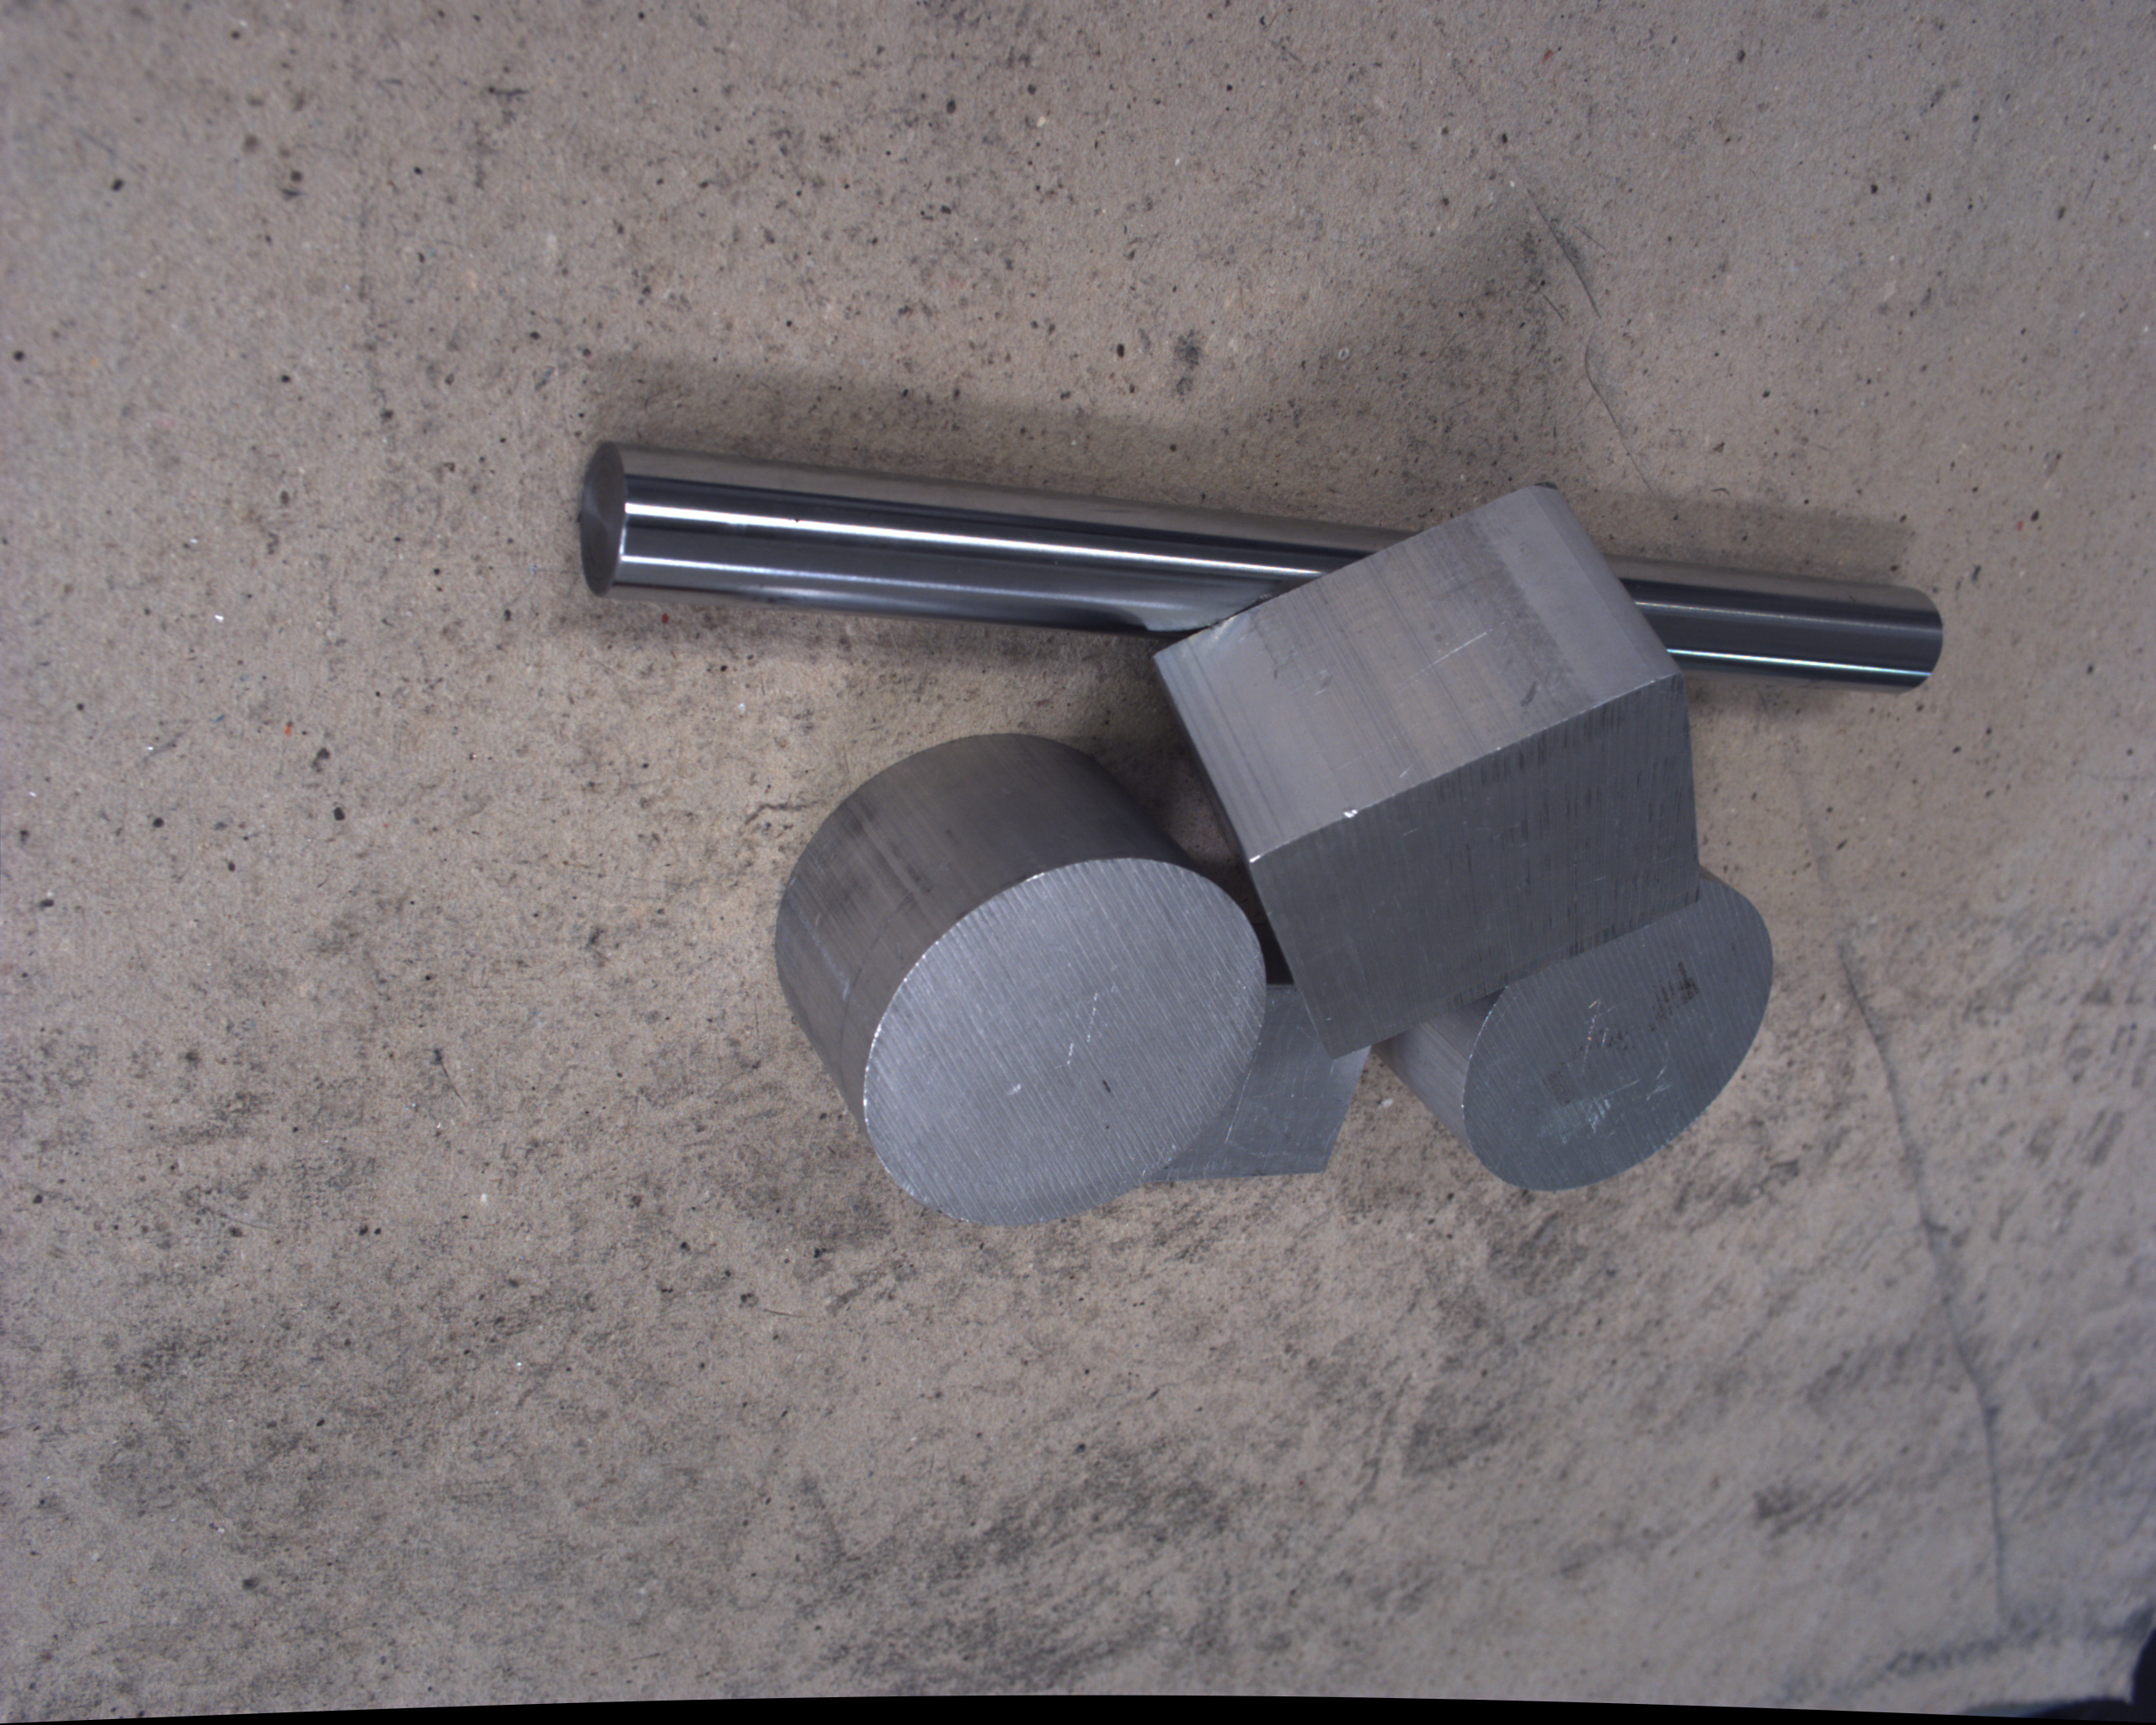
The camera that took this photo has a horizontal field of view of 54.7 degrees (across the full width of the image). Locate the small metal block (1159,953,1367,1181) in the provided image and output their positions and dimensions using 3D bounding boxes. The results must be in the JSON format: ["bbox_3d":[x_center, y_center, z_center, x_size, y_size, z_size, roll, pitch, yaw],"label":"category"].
[{"bbox_3d":[0.034,0.041,0.453,0.050,0.025,0.050,2,118,-29],"label":"small metal block"}]

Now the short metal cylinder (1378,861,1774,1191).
[{"bbox_3d":[0.106,0.026,0.466,0.081,0.050,0.079,-14,124,-21],"label":"short metal cylinder"}]

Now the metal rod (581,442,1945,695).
[{"bbox_3d":[0.056,-0.053,0.406,0.303,0.025,0.025,1,118,-29],"label":"metal rod"}]

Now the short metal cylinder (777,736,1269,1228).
[{"bbox_3d":[-0.011,0.022,0.399,0.081,0.050,0.079,-14,124,-21],"label":"short metal cylinder"}]

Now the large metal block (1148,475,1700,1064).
[{"bbox_3d":[0.068,-0.015,0.397,0.080,0.050,0.080,-24,145,3],"label":"large metal block"}]
